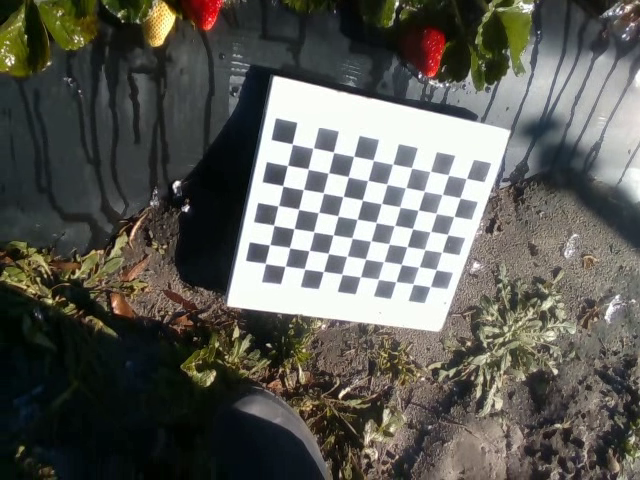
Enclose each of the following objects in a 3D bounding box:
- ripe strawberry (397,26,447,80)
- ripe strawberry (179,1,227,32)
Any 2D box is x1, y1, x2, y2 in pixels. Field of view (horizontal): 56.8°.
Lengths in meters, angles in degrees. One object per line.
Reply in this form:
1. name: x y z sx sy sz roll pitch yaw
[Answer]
1. ripe strawberry: 0.110 -0.195 0.609 0.048 0.061 0.044 2 -11 -15
2. ripe strawberry: -0.110 -0.217 0.552 0.042 0.061 0.046 -5 -19 -12
